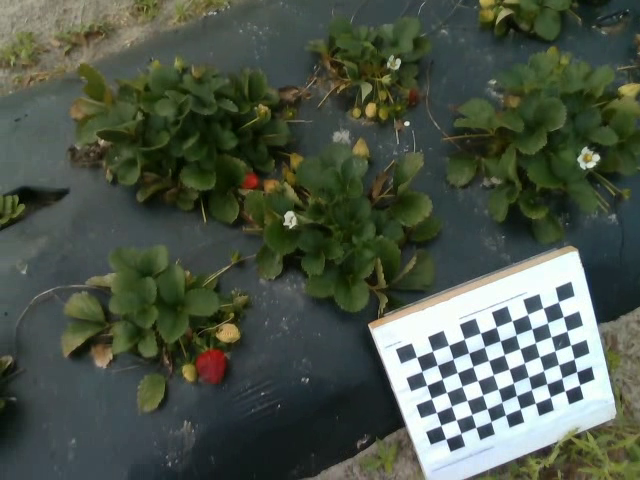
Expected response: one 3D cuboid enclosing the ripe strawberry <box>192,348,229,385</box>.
[{"bbox_3d":[-0.147,0.181,0.870,0.046,0.045,0.059,-26,36,-1],"label":"ripe strawberry"}]
